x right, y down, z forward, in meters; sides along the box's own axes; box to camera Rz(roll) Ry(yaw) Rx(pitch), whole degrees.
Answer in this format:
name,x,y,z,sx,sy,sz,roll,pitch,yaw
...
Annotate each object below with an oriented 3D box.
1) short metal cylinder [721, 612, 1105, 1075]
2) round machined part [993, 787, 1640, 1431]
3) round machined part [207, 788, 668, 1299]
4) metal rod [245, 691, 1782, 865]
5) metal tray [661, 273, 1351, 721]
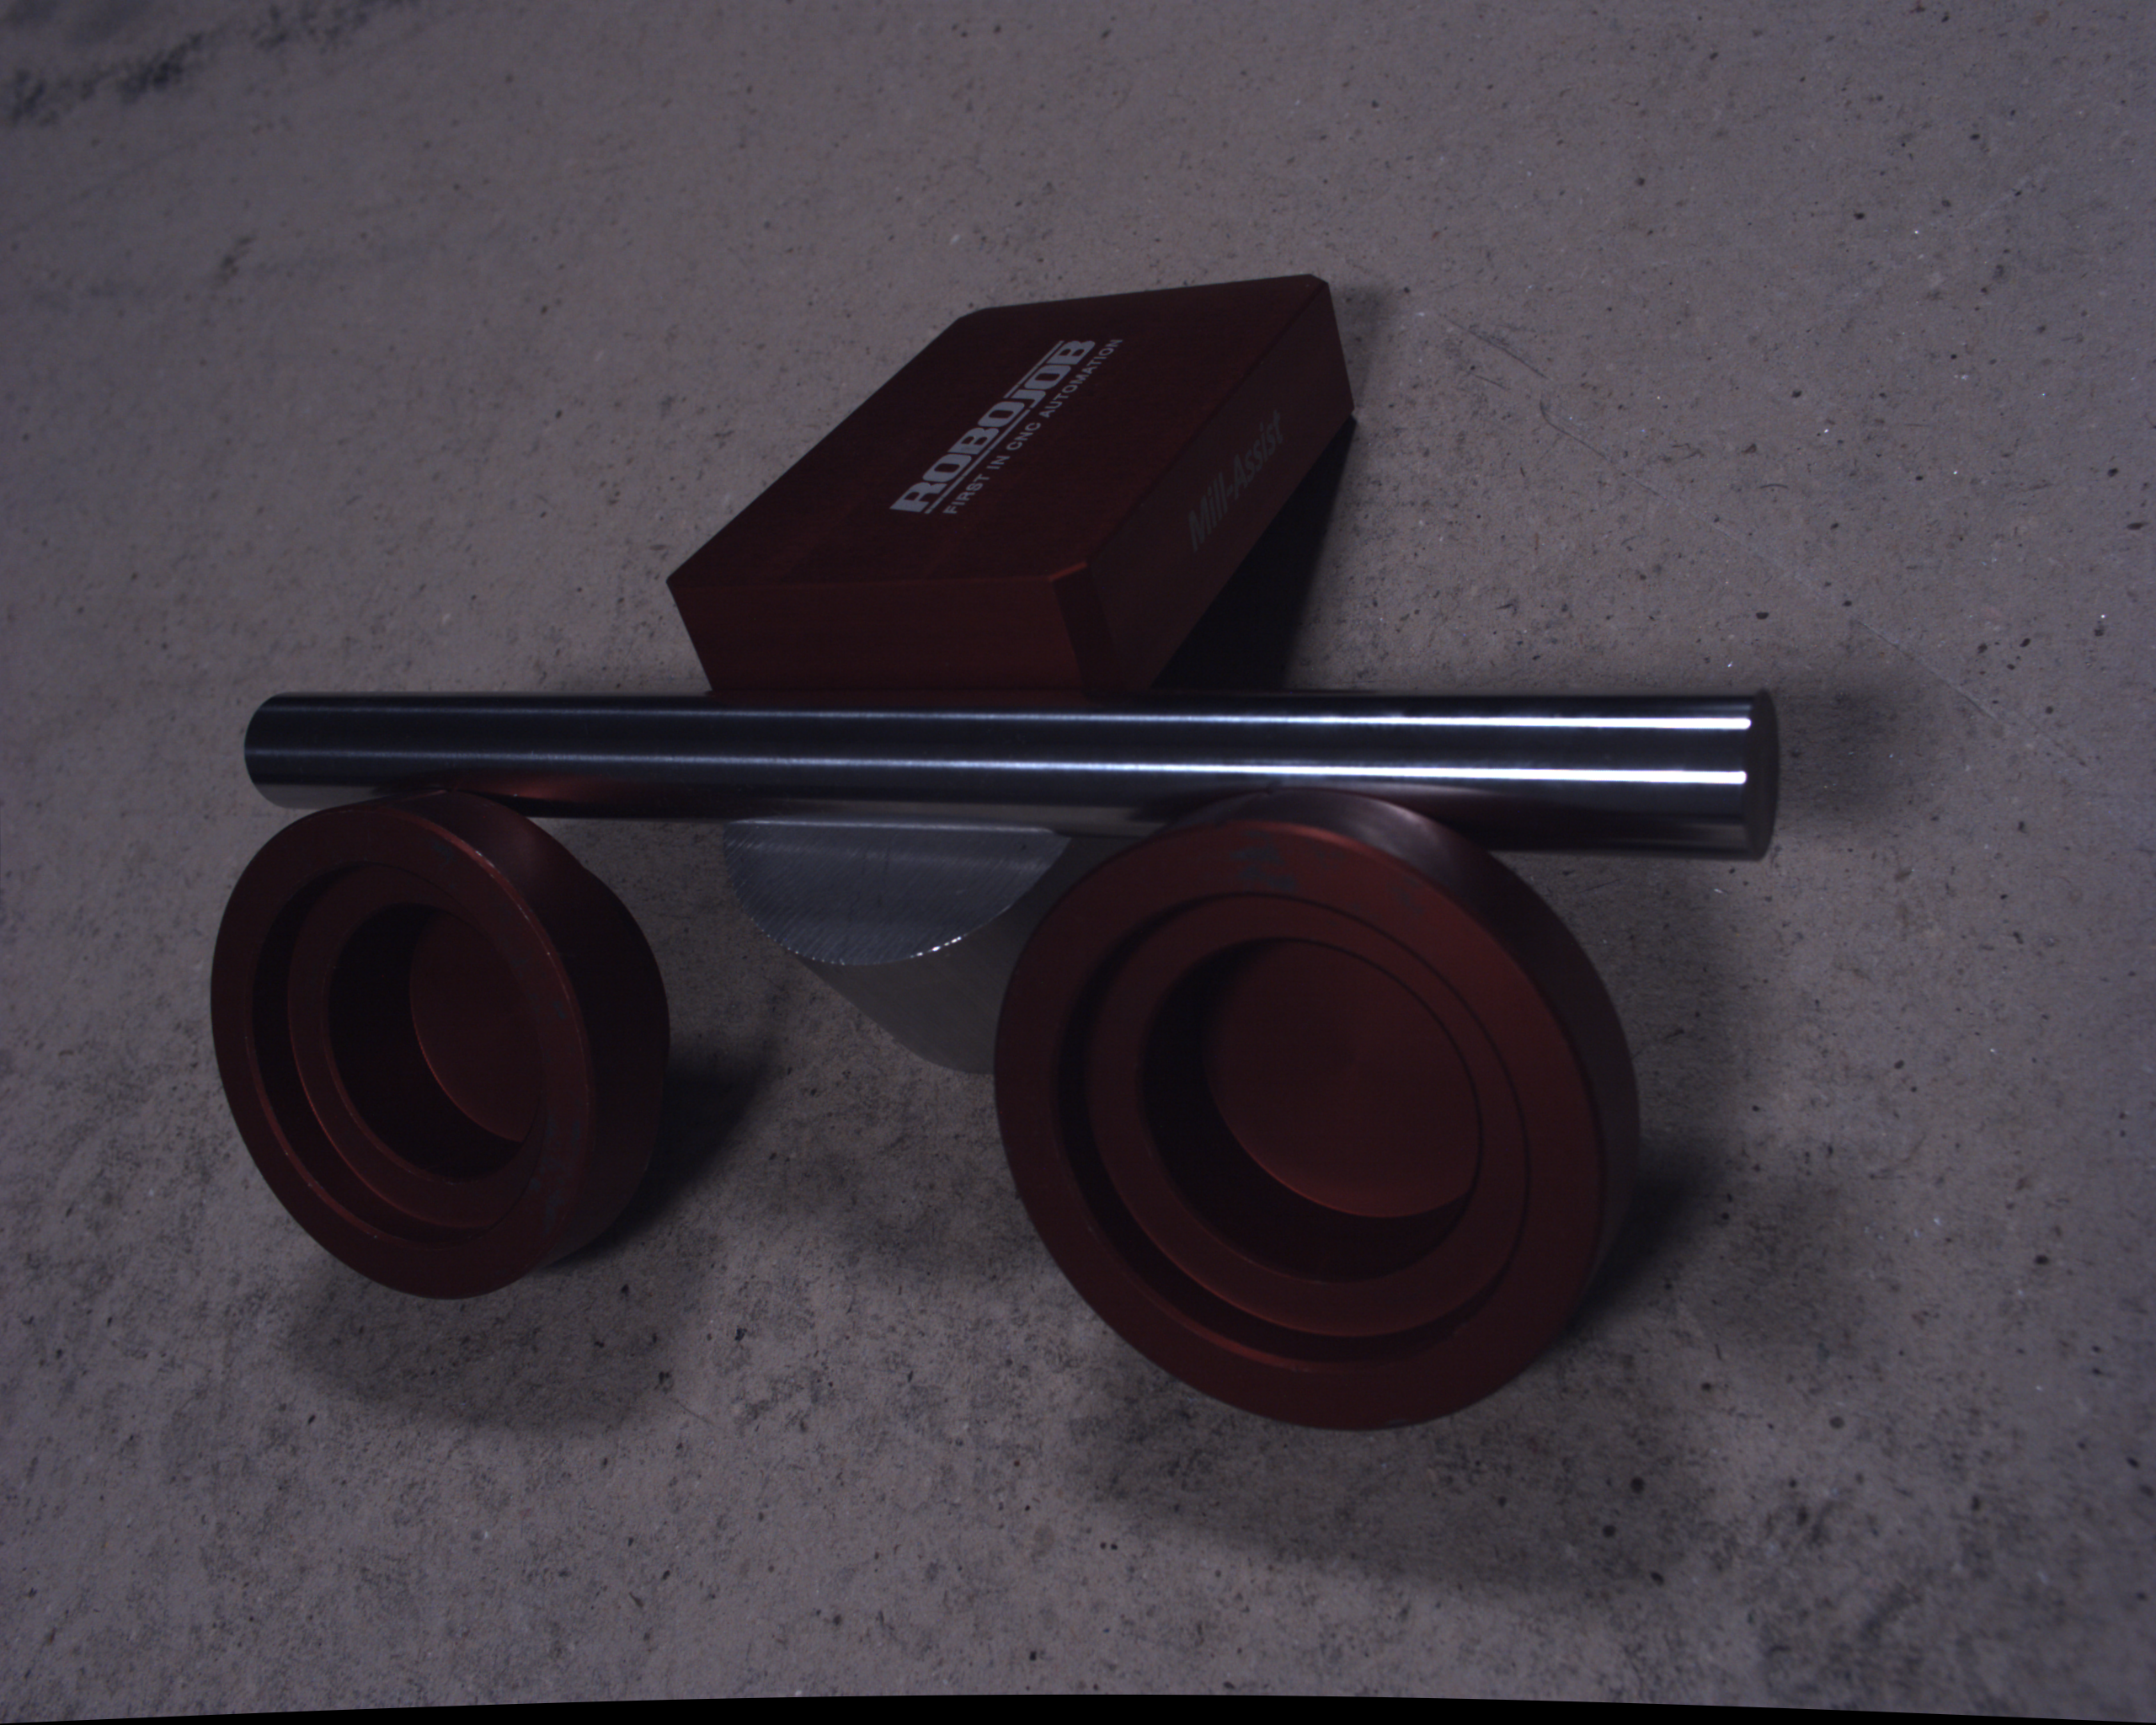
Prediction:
name,x,y,z,sx,sy,sz,roll,pitch,yaw
short metal cylinder,-0.021,-0.005,0.403,0.080,0.050,0.080,-13,56,20
round machined part,0.039,0.035,0.329,0.098,0.042,0.097,8,108,26
round machined part,-0.122,0.033,0.415,0.098,0.042,0.097,6,103,26
metal rod,-0.034,-0.018,0.369,0.300,0.025,0.025,2,63,29
metal tray,-0.010,-0.075,0.417,0.090,0.030,0.131,2,37,29
